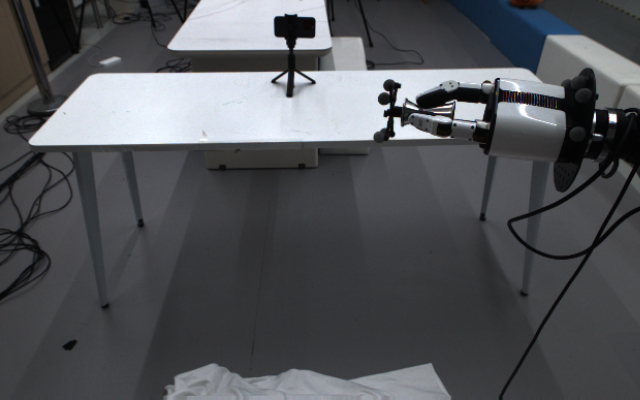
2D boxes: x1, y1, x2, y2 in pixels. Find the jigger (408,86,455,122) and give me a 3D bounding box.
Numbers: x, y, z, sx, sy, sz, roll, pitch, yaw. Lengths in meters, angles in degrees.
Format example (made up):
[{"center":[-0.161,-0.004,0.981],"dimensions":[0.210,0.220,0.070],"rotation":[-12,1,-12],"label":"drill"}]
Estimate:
[{"center":[0.155,-0.121,0.669],"dimensions":[0.071,0.043,0.043],"rotation":[9,35,17],"label":"jigger"}]
